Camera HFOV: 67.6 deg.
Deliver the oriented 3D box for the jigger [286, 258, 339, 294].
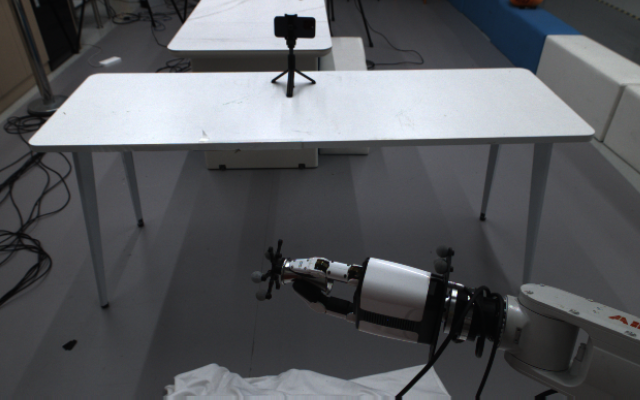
[{"bbox_3d":[-0.010,0.101,0.685,0.071,0.043,0.043,8,35,14],"label":"jigger"}]
